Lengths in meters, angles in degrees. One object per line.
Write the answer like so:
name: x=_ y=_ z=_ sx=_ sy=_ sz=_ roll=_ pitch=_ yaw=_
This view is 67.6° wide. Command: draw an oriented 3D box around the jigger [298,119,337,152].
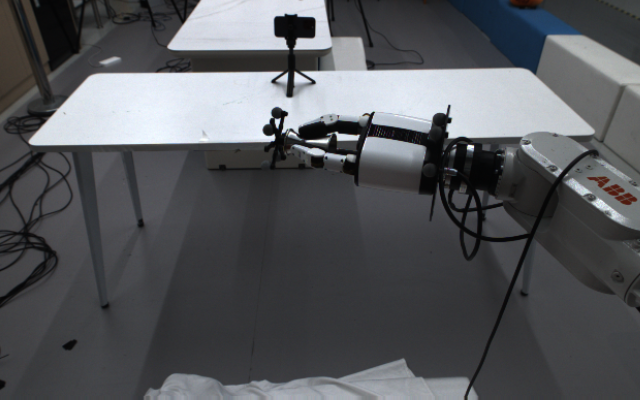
jigger: x=-0.008 y=-0.082 z=0.704 sx=0.071 sy=0.043 sz=0.043 roll=11 pitch=36 yaw=15
